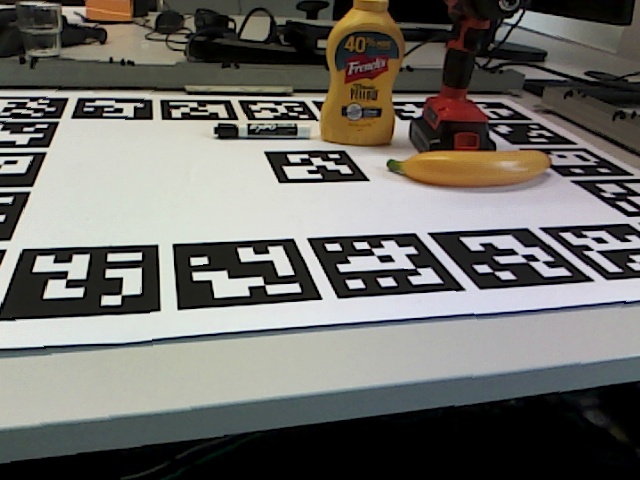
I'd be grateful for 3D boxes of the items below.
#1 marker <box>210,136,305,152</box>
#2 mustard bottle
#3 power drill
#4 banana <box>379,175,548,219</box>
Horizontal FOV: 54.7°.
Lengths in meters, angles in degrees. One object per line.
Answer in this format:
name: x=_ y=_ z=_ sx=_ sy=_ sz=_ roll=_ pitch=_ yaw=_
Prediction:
marker: x=-0.080 y=-0.123 z=0.795 sx=0.121 sy=0.019 sz=0.020 roll=-1 pitch=32 yaw=-10
mustard bottle: x=0.053 y=-0.196 z=0.769 sx=0.096 sy=0.191 sz=0.058 roll=5 pitch=30 yaw=-3
power drill: x=0.170 y=-0.179 z=0.728 sx=0.057 sy=0.187 sz=0.185 roll=7 pitch=28 yaw=-2
banana: x=0.169 y=-0.052 z=0.701 sx=0.197 sy=0.039 sz=0.074 roll=1 pitch=33 yaw=-4
